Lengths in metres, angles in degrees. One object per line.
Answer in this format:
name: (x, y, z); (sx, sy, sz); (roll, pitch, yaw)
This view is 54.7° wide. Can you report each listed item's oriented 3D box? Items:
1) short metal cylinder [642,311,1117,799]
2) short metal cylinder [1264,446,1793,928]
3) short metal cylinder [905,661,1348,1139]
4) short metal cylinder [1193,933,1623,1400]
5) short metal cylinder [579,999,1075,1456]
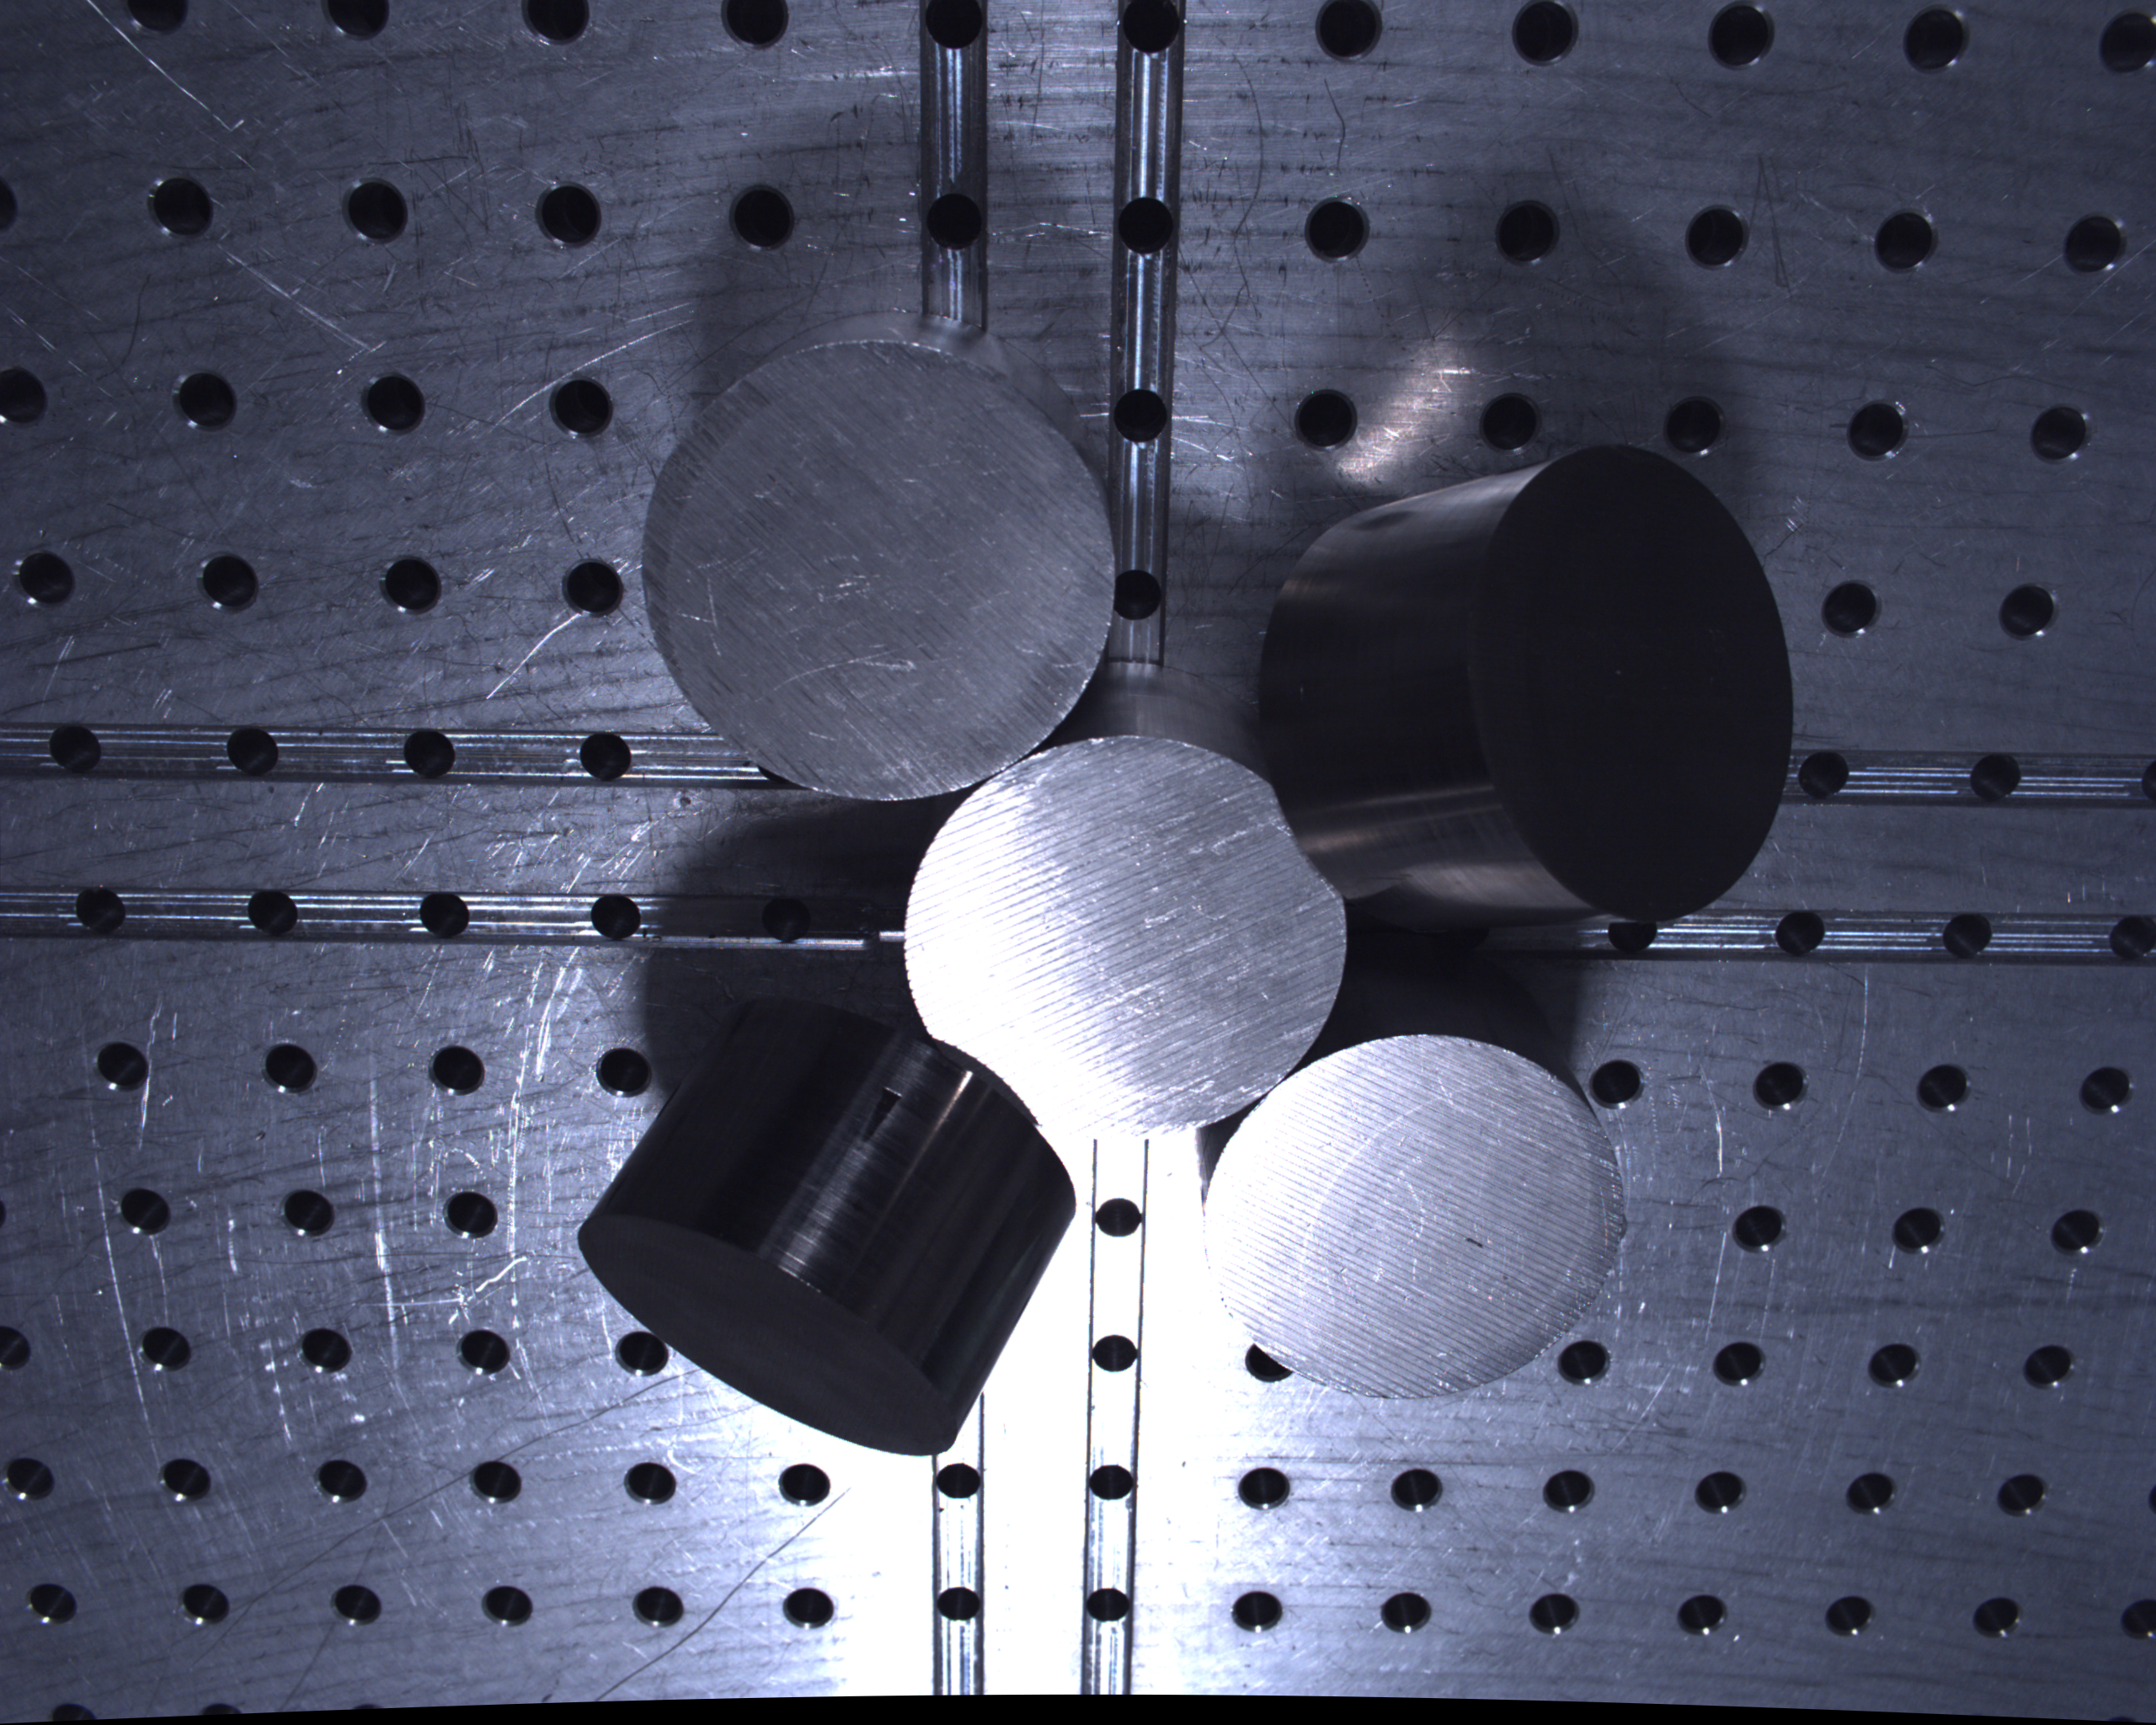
short metal cylinder: (-0.034, -0.057, 0.378); (0.081, 0.050, 0.079); (0, 110, -1)
short metal cylinder: (0.080, -0.029, 0.369); (0.081, 0.050, 0.080); (3, 85, -35)
short metal cylinder: (0.009, 0.006, 0.402); (0.081, 0.050, 0.079); (0, 110, -1)
short metal cylinder: (0.064, 0.061, 0.423); (0.081, 0.050, 0.079); (0, 110, -1)
short metal cylinder: (-0.048, 0.071, 0.404); (0.080, 0.050, 0.080); (21, 147, 15)
